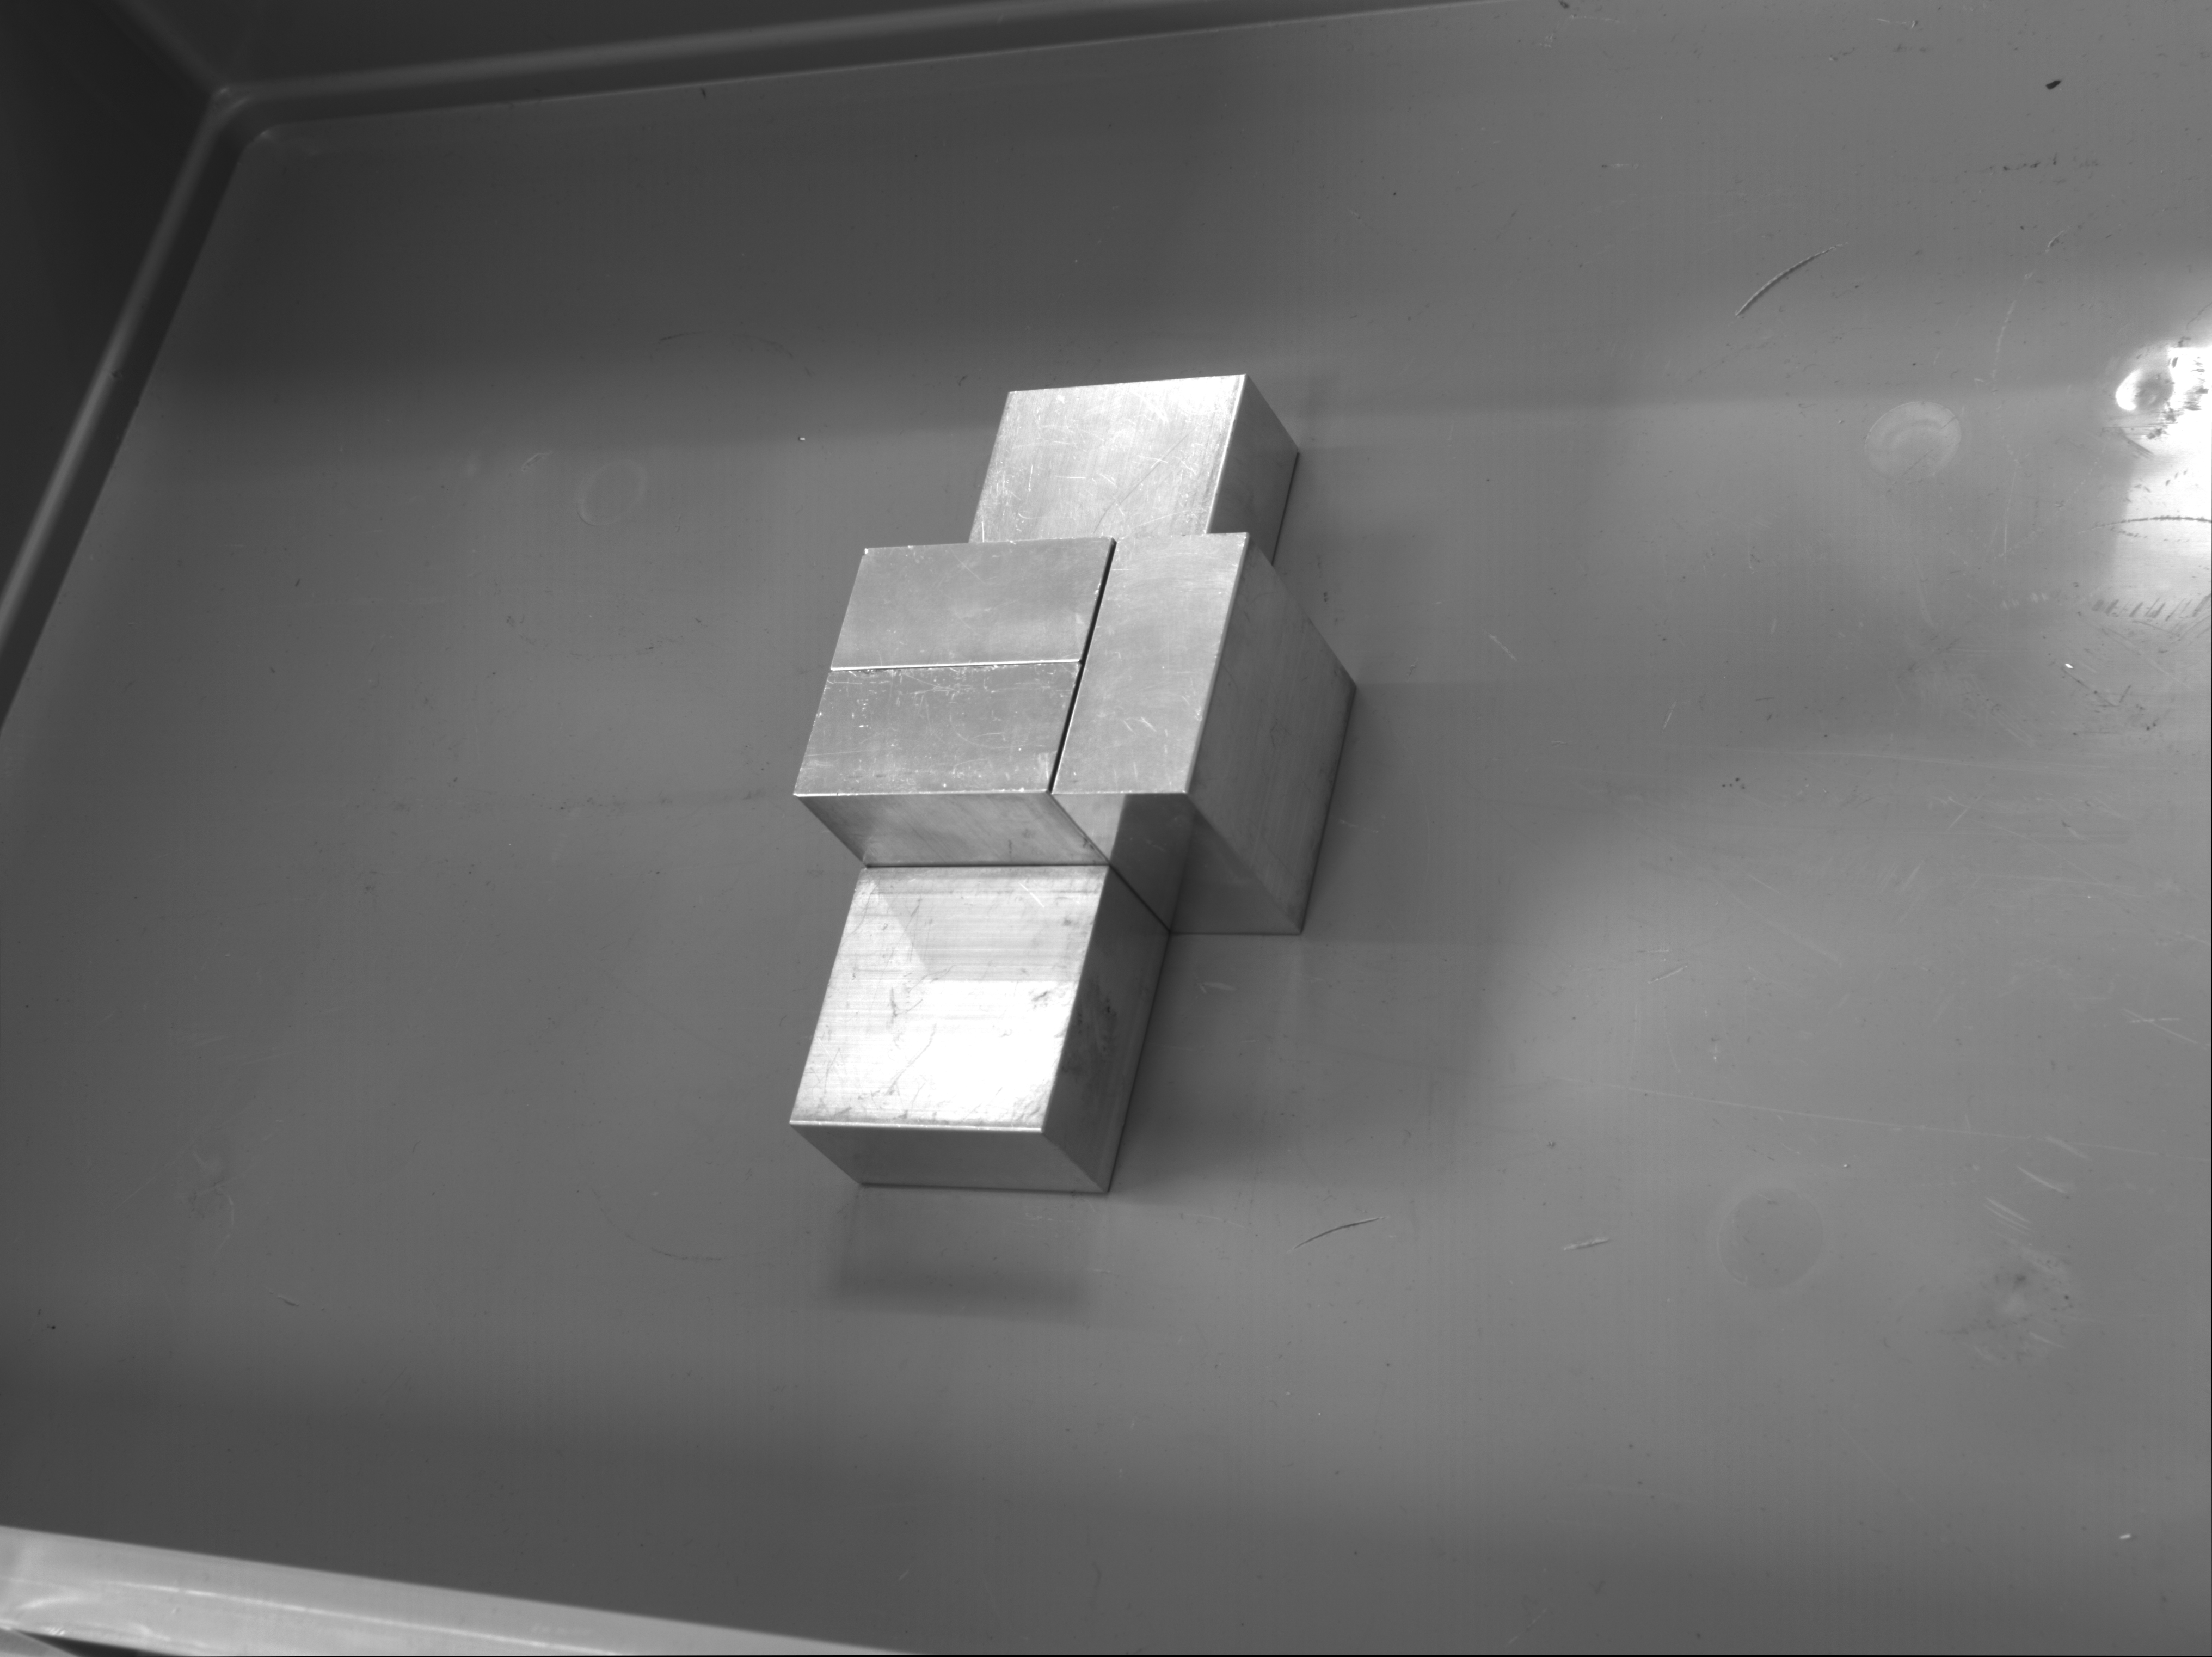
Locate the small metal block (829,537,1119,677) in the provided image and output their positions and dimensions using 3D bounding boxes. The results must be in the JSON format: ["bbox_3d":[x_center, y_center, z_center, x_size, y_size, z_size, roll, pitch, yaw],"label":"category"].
[{"bbox_3d":[-0.013,-0.027,0.650,0.050,0.050,0.025,0,61,28],"label":"small metal block"}]

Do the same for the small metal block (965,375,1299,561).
[{"bbox_3d":[0.003,-0.054,0.675,0.050,0.025,0.050,0,61,28],"label":"small metal block"}]

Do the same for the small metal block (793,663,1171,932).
[{"bbox_3d":[-0.018,-0.005,0.640,0.050,0.050,0.025,0,61,28],"label":"small metal block"}]

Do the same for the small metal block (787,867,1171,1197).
[{"bbox_3d":[-0.021,0.035,0.633,0.050,0.025,0.050,0,61,28],"label":"small metal block"}]

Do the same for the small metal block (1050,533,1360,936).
[{"bbox_3d":[0.018,-0.015,0.627,0.025,0.050,0.050,0,61,28],"label":"small metal block"}]
